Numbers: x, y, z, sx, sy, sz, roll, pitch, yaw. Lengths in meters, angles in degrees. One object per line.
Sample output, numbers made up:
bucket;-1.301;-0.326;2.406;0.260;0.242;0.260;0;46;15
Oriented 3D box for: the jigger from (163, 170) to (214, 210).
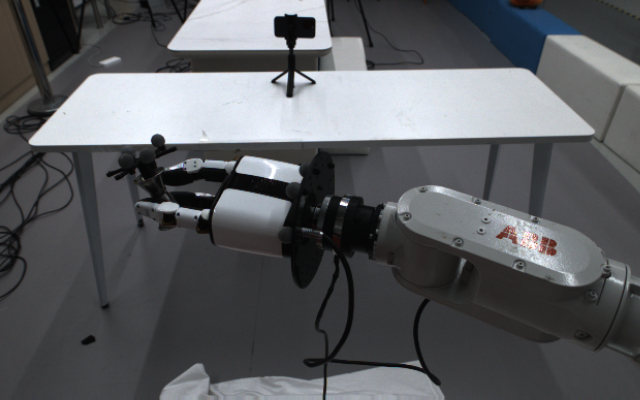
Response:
jigger;-0.192;-0.003;0.602;0.043;0.071;0.043;-19;24;9
